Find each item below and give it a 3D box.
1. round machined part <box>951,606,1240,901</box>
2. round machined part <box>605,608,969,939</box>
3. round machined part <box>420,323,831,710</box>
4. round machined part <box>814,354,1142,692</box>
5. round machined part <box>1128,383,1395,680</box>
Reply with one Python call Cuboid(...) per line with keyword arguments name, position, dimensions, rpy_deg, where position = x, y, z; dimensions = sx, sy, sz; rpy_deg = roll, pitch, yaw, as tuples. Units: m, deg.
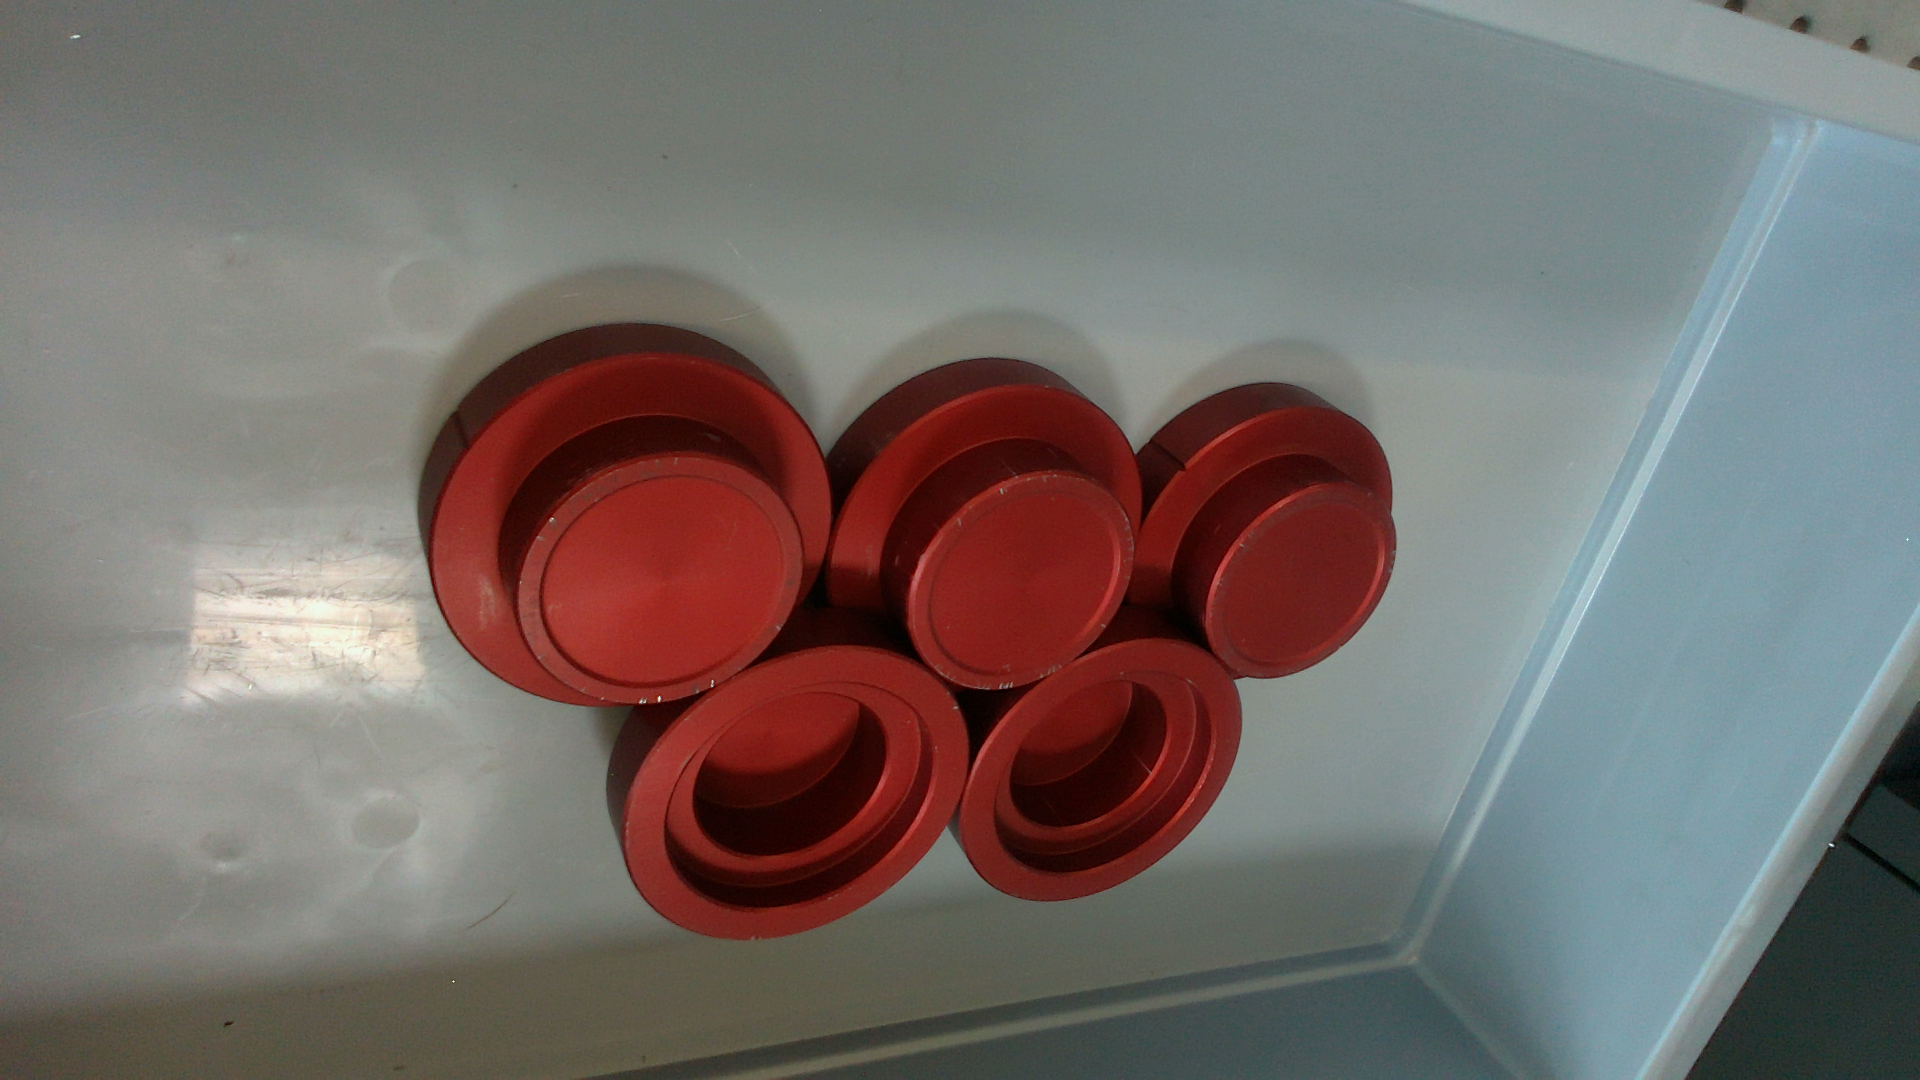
Cuboid(name="round machined part", position=(0.036, 0.062, 0.434), dimensions=(0.098, 0.042, 0.098), rpy_deg=(-14, 124, -21))
Cuboid(name="round machined part", position=(-0.050, 0.060, 0.386), dimensions=(0.098, 0.042, 0.098), rpy_deg=(-14, 124, -21))
Cuboid(name="round machined part", position=(-0.077, 0.001, 0.334), dimensions=(0.098, 0.042, 0.098), rpy_deg=(-14, 123, -22))
Cuboid(name="round machined part", position=(0.009, 0.002, 0.382), dimensions=(0.098, 0.042, 0.098), rpy_deg=(-13, 123, -21))
Cuboid(name="round machined part", position=(0.095, 0.004, 0.429), dimensions=(0.098, 0.042, 0.098), rpy_deg=(-13, 123, -21))
